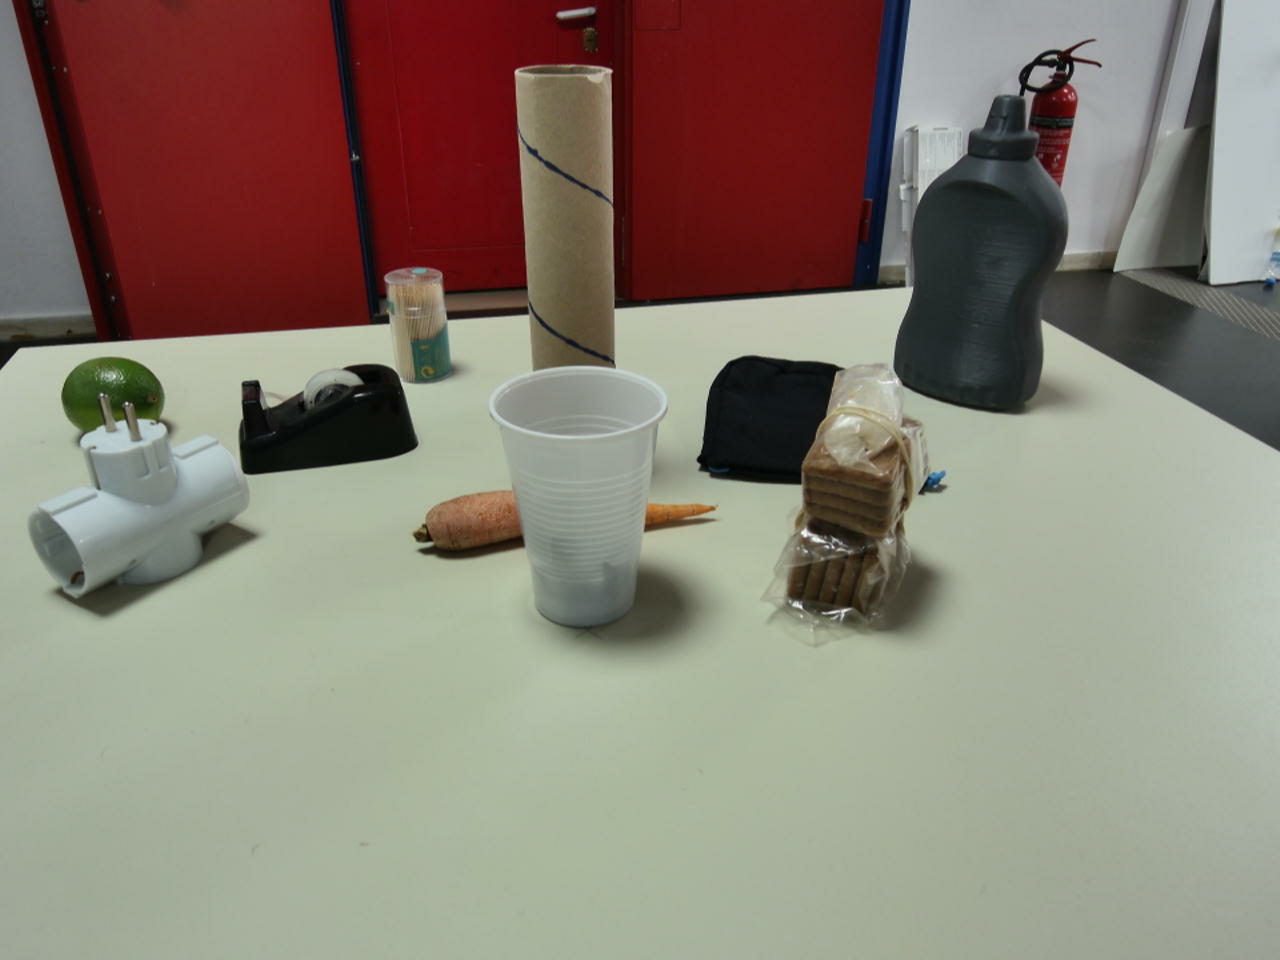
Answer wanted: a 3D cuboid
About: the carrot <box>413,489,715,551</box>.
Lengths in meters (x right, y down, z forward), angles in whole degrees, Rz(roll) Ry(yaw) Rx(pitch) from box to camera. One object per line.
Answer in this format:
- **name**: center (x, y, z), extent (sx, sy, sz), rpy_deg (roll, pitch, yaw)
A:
- **carrot**: center (-0.039, 0.017, 0.540), extent (0.163, 0.029, 0.031), rpy_deg (-6, 26, -11)
